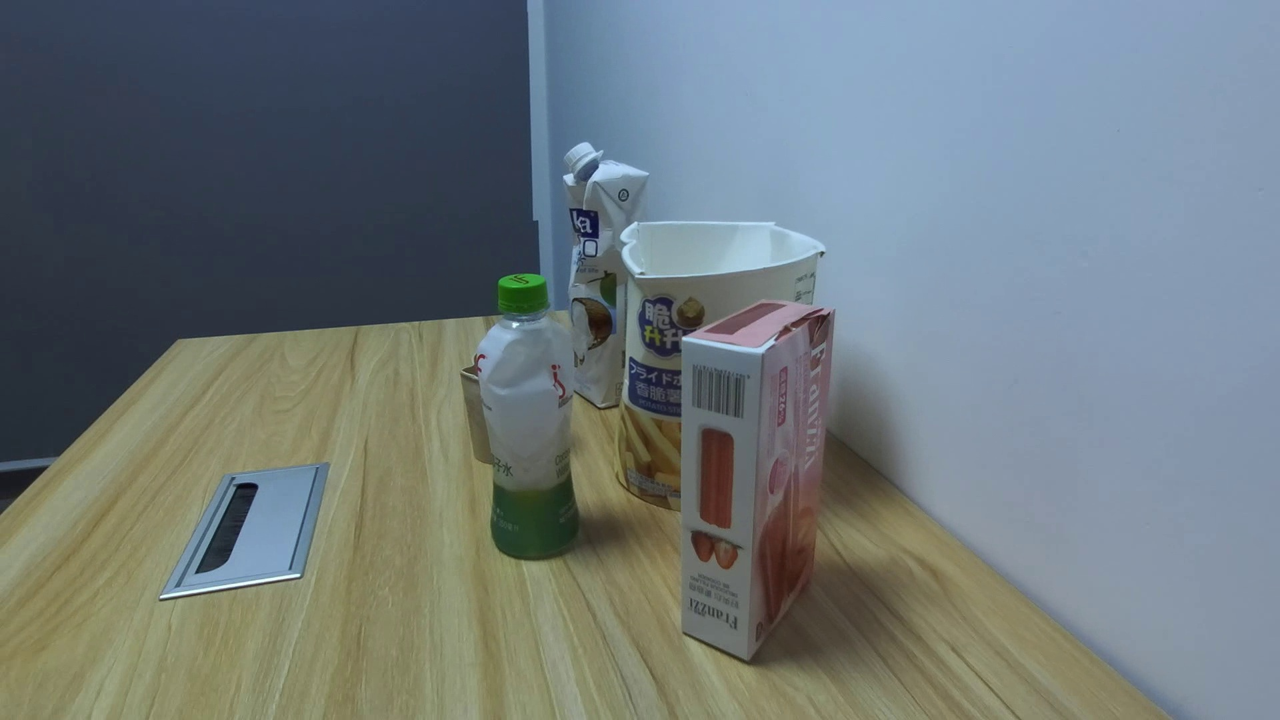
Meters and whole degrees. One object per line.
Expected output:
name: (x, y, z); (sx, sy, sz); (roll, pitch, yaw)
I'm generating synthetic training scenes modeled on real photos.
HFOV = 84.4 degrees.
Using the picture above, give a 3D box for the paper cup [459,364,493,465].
paper cup: (-0.113, 0.042, 0.586); (0.069, 0.081, 0.073); (-10, 13, -37)

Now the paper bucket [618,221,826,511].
paper bucket: (0.058, -0.003, 0.575); (0.146, 0.197, 0.202); (-1, 21, -5)

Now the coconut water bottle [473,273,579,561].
coconut water bottle: (-0.075, 0.039, 0.476); (0.069, 0.186, 0.069); (0, 21, 0)

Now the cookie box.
cookie box: (0.070, 0.063, 0.410); (0.048, 0.187, 0.105); (13, 24, 32)

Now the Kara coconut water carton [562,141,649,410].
Kara coconut water carton: (-0.033, -0.085, 0.704); (0.078, 0.255, 0.083); (-9, 24, -17)
